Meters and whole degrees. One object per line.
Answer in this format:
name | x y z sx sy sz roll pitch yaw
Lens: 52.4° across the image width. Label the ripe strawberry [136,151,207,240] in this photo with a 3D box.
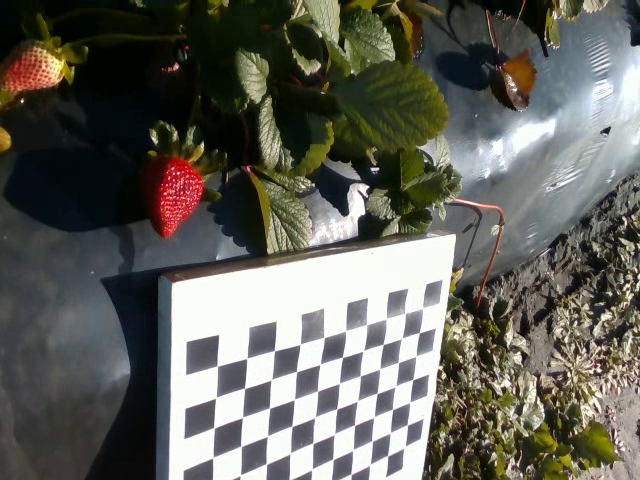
ripe strawberry | -0.096 -0.026 0.398 0.058 0.062 0.066 -34 -47 7
